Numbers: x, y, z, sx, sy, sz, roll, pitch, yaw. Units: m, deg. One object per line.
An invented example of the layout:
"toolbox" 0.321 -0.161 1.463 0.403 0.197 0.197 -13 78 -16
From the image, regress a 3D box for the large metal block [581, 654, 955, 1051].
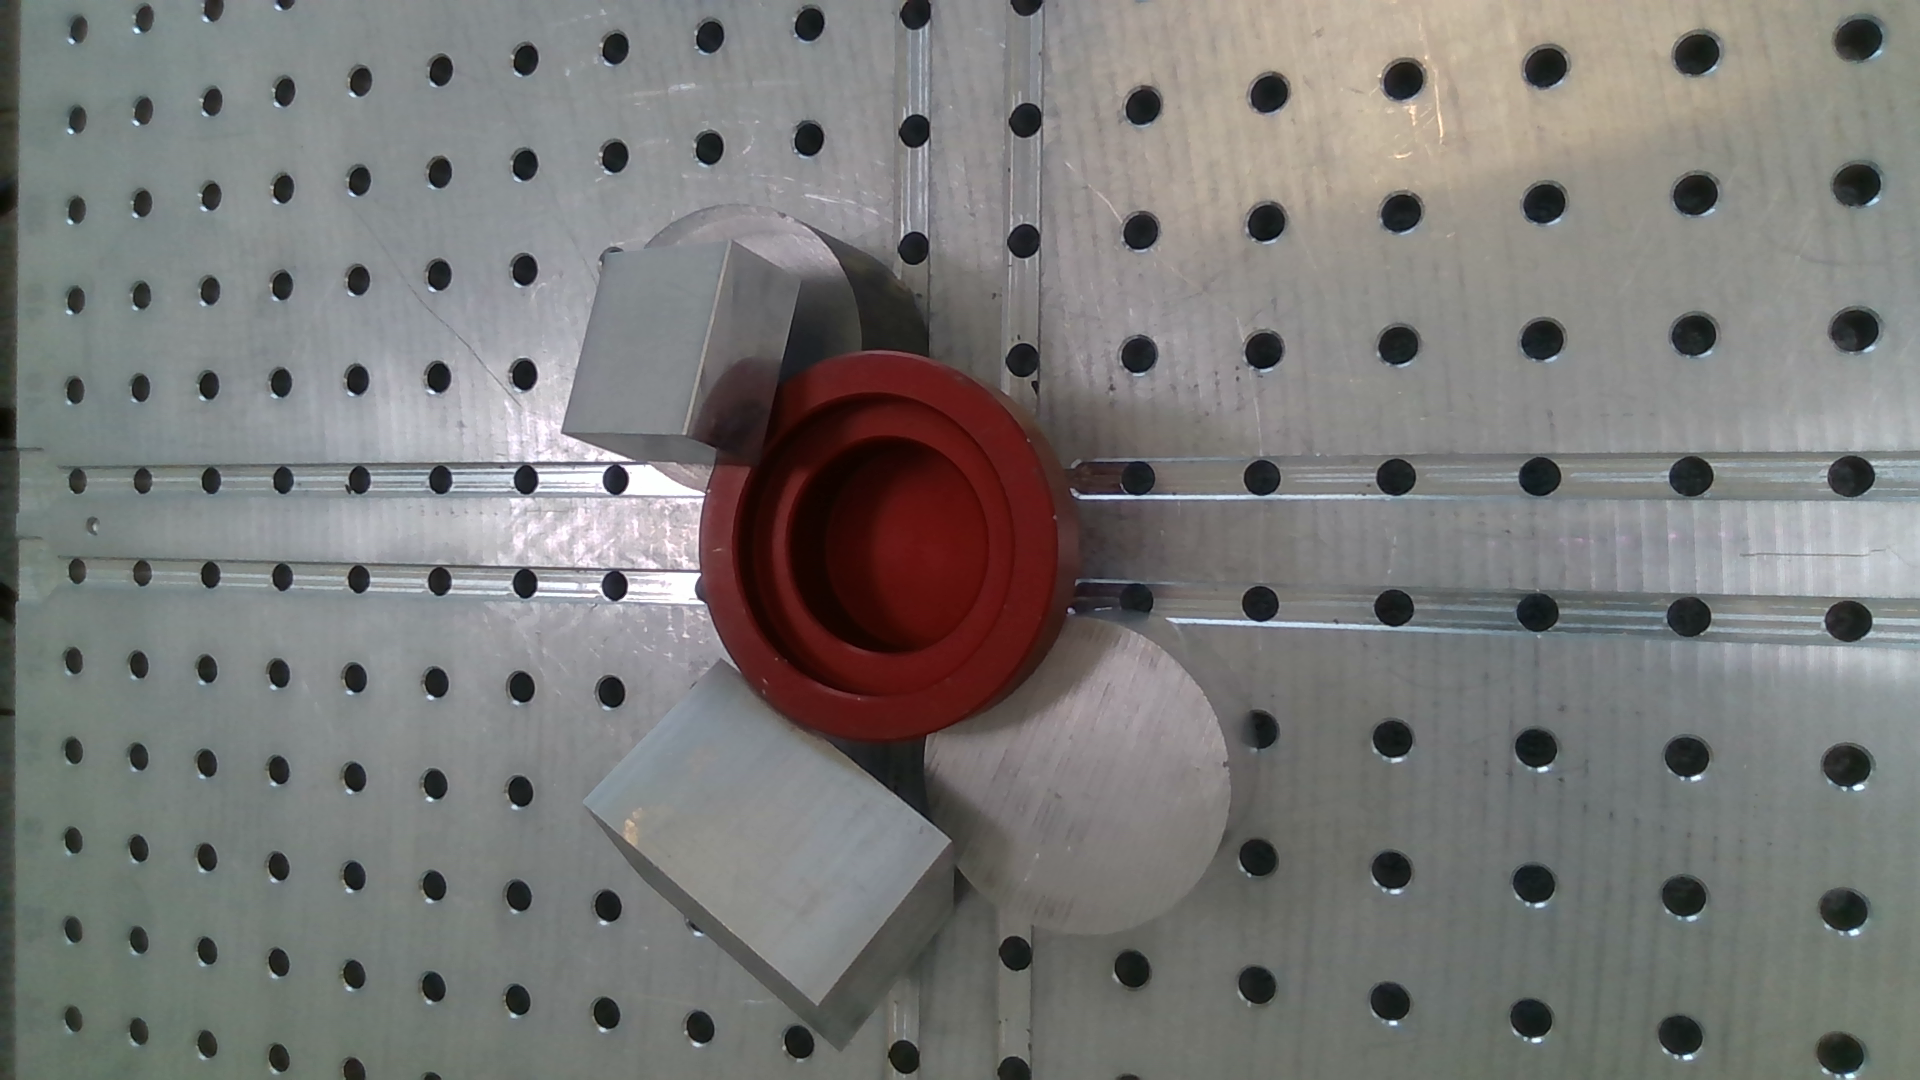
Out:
"large metal block" -0.049 0.088 0.379 0.080 0.080 0.050 36 68 16

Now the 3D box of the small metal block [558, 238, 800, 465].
"small metal block" -0.073 -0.048 0.356 0.050 0.025 0.050 5 79 39

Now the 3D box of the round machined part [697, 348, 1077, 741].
"round machined part" -0.016 0.001 0.362 0.098 0.042 0.098 0 90 20

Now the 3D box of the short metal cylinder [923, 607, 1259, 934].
"short metal cylinder" 0.036 0.059 0.370 0.080 0.050 0.080 0 90 20

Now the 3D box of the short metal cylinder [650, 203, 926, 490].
"short metal cylinder" -0.056 -0.053 0.403 0.080 0.050 0.080 0 90 20
